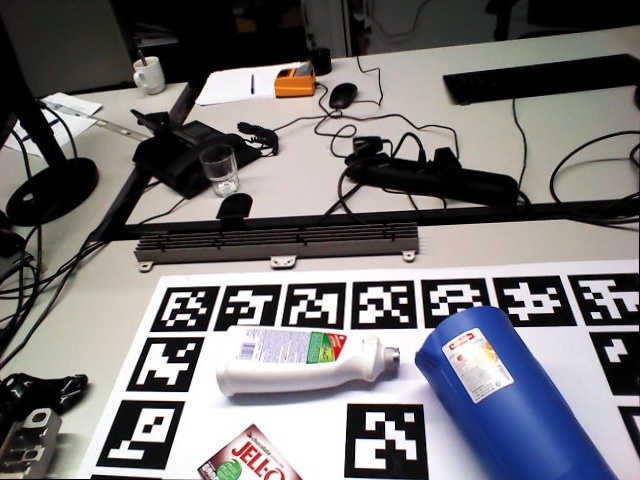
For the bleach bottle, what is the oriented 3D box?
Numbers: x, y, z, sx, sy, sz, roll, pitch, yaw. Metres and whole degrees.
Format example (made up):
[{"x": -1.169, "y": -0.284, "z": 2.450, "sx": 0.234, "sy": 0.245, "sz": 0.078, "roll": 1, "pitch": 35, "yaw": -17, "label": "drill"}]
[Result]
[{"x": -0.014, "y": 0.161, "z": 0.729, "sx": 0.251, "sy": 0.068, "sz": 0.102, "roll": -4, "pitch": 46, "yaw": 6, "label": "bleach bottle"}]

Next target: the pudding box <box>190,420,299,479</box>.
[{"x": -0.088, "y": 0.286, "z": 0.617, "sx": 0.089, "sy": 0.039, "sz": 0.114, "roll": -29, "pitch": 45, "yaw": -27, "label": "pudding box"}]

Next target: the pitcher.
[{"x": 0.230, "y": 0.206, "z": 0.594, "sx": 0.188, "sy": 0.134, "sz": 0.242, "roll": 8, "pitch": 37, "yaw": -31, "label": "pitcher"}]
